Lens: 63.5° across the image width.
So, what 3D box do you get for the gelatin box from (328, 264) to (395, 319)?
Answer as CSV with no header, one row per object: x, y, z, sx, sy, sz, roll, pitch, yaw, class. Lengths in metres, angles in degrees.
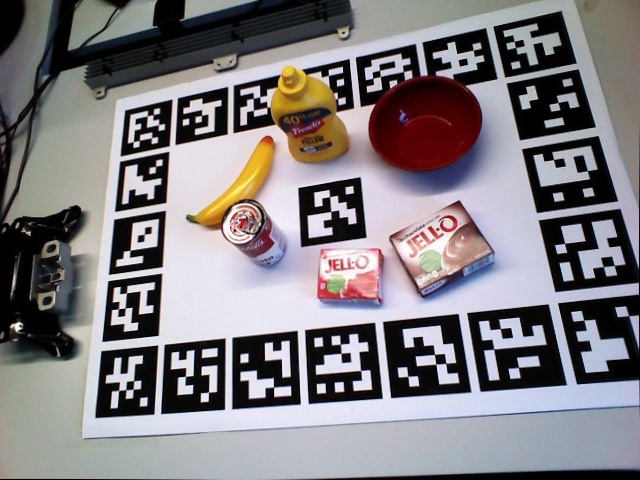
0.059,0.072,0.727,0.090,0.030,0.073,-1,72,17,gelatin box

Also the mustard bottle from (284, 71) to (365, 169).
0.002,-0.174,0.739,0.097,0.191,0.058,-7,64,13,mustard bottle

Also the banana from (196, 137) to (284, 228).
-0.116,-0.086,0.837,0.074,0.039,0.197,35,82,35,banana

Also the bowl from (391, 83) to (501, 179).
0.189,-0.150,0.765,0.162,0.055,0.161,-7,67,15,bowl

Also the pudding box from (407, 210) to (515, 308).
0.189,0.027,0.701,0.114,0.038,0.090,-29,69,4,pudding box

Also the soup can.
-0.083,-0.003,0.749,0.068,0.102,0.067,-5,66,12,soup can
